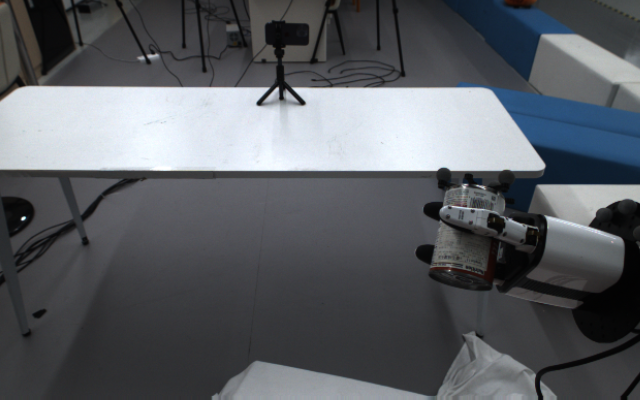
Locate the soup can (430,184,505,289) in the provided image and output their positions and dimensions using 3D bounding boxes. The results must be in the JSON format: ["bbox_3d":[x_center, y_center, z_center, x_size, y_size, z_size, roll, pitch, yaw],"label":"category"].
[{"bbox_3d":[0.165,0.040,0.536,0.067,0.067,0.101,11,73,13],"label":"soup can"}]
